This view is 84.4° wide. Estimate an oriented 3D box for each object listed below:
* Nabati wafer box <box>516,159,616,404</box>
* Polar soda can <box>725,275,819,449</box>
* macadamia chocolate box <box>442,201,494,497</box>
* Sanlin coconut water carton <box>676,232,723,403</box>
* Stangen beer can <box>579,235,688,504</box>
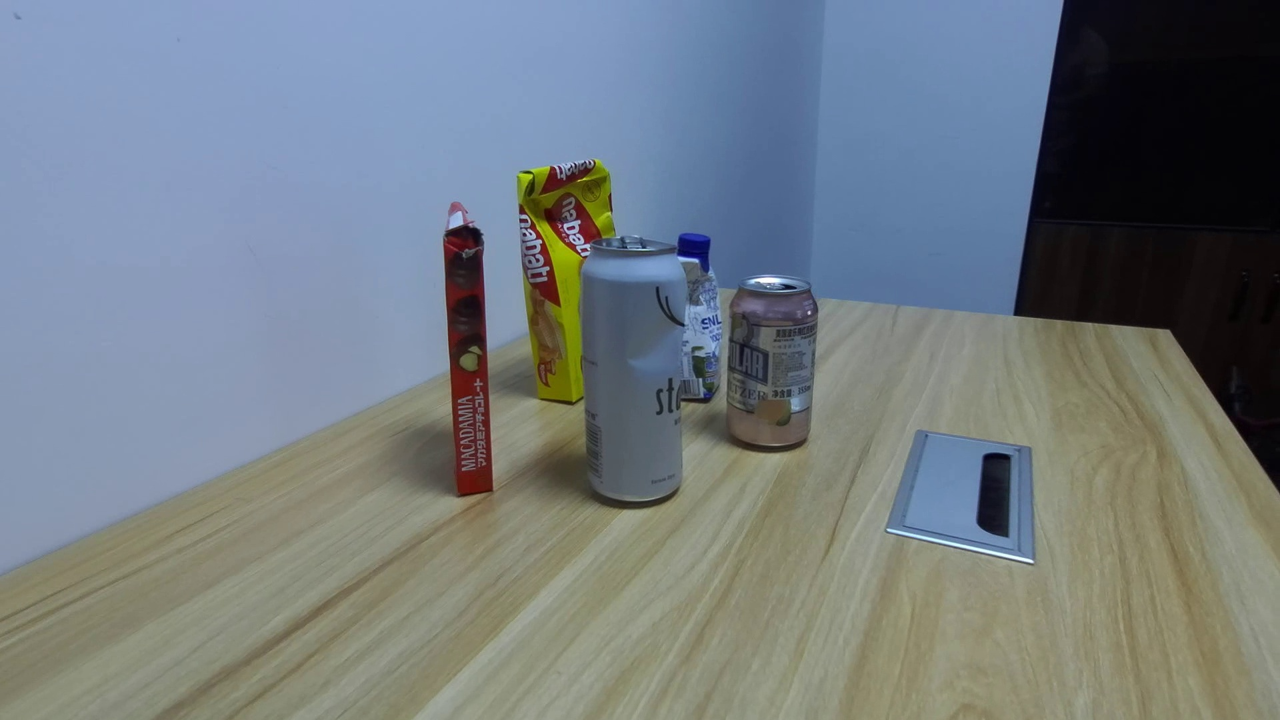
[{"bbox_3d":[-0.061,-0.072,0.644,0.042,0.205,0.113,9,24,28],"label":"Nabati wafer box"},{"bbox_3d":[0.099,0.002,0.543,0.067,0.125,0.067,0,18,0],"label":"Polar soda can"},{"bbox_3d":[-0.121,-0.012,0.498,0.027,0.187,0.102,-2,20,-13],"label":"macadamia chocolate box"},{"bbox_3d":[0.039,-0.039,0.638,0.068,0.144,0.057,-5,9,17],"label":"Sanlin coconut water carton"},{"bbox_3d":[0.000,0.006,0.464,0.069,0.173,0.070,8,19,22],"label":"Stangen beer can"}]
